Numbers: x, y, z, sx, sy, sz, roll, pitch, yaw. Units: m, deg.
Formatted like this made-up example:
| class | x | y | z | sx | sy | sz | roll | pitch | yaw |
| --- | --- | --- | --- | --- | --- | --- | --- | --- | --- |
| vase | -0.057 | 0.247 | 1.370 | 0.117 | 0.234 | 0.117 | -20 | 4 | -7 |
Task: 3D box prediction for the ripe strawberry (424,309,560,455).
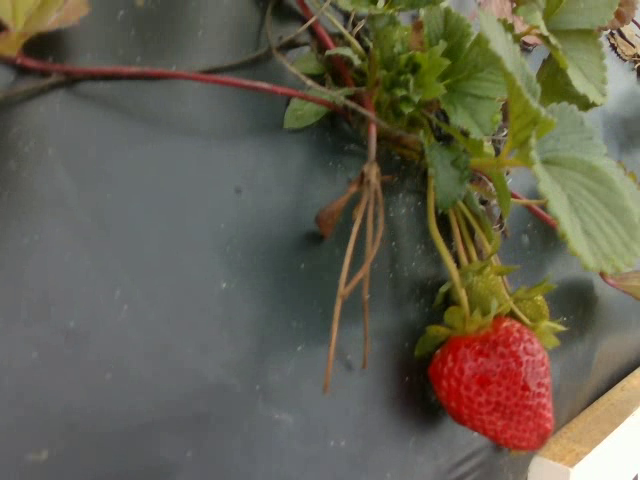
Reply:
| class | x | y | z | sx | sy | sz | roll | pitch | yaw |
| --- | --- | --- | --- | --- | --- | --- | --- | --- | --- |
| ripe strawberry | 0.021 | 0.016 | 0.082 | 0.014 | 0.017 | 0.018 | -42 | -18 | 25 |
